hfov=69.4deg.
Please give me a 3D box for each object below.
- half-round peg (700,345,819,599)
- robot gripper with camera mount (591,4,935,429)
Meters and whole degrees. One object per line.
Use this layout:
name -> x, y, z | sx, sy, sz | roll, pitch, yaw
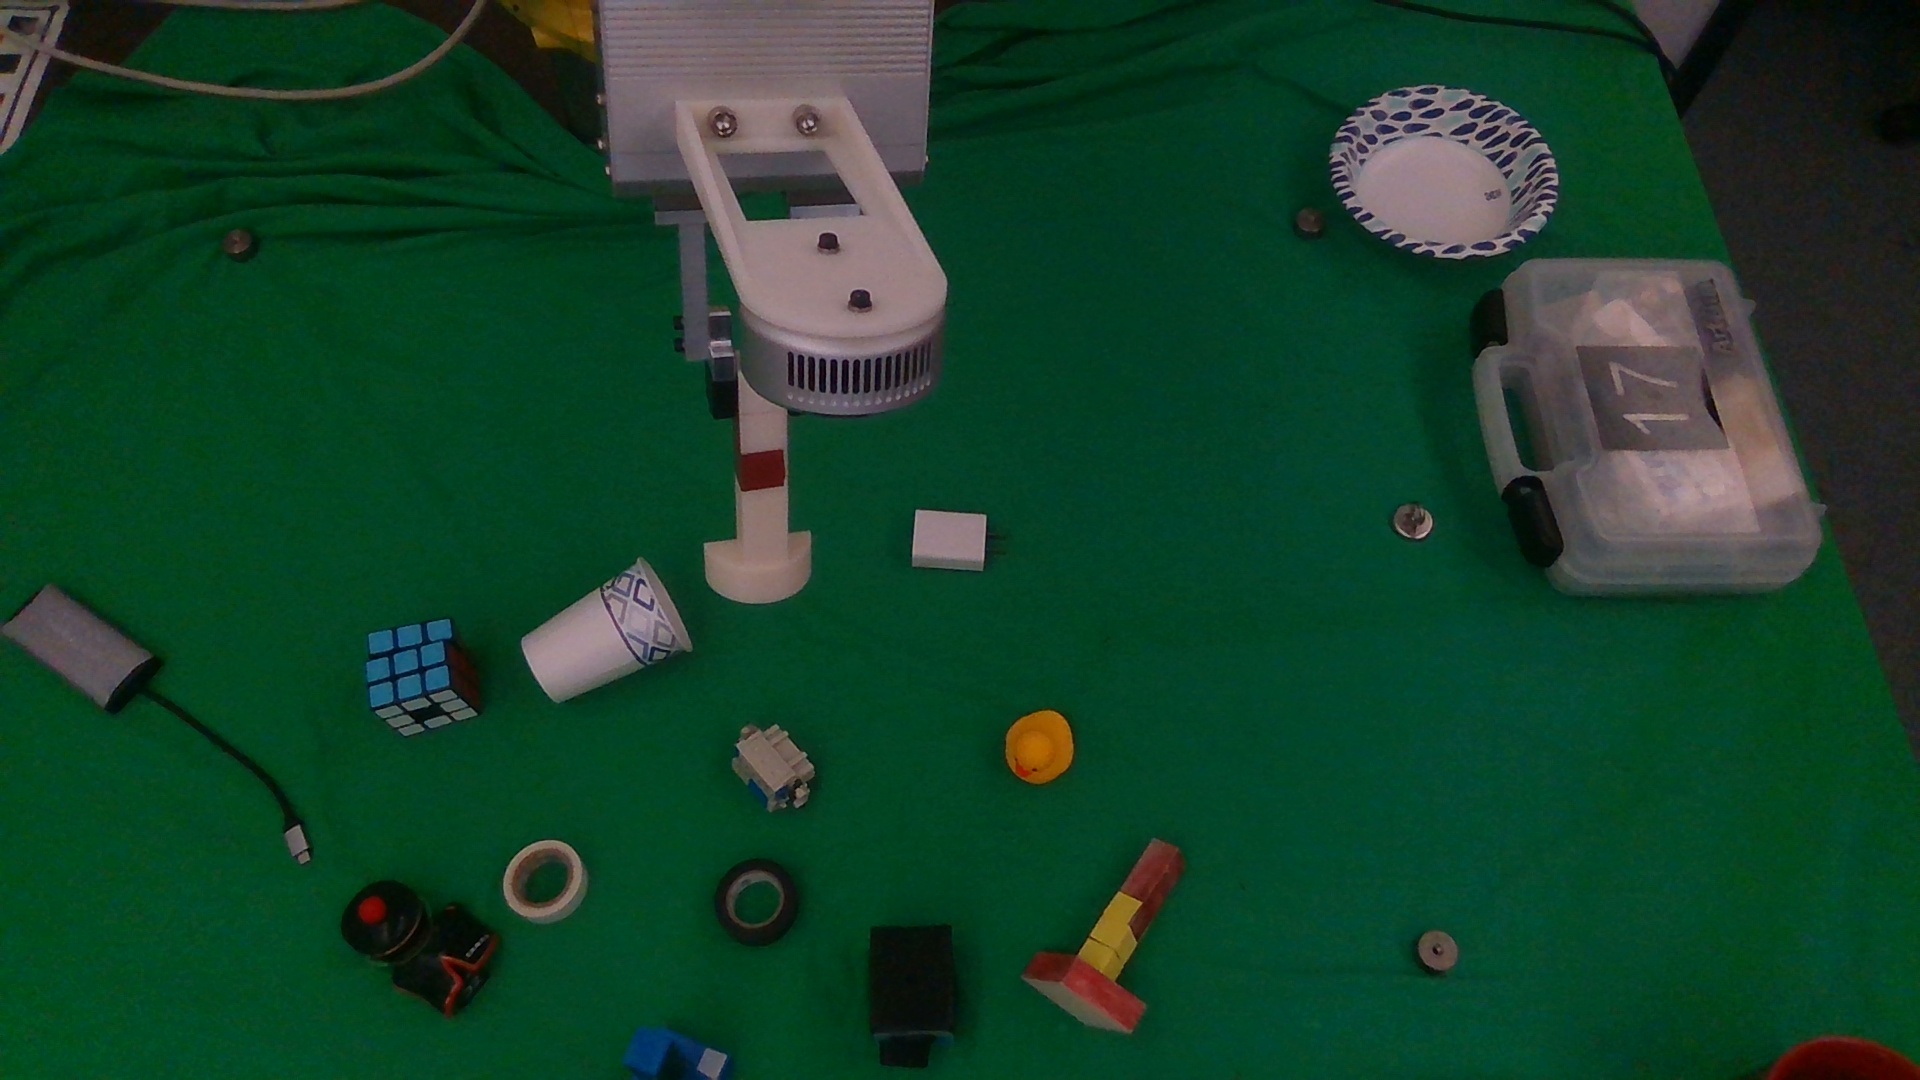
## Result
half-round peg -> -0.088, -0.029, 0.607 | 0.054, 0.122, 0.031 | -6, 39, -13
robot gripper with camera mount -> -0.052, -0.076, 0.478 | 0.119, 0.158, 0.194 | -8, 35, -13
